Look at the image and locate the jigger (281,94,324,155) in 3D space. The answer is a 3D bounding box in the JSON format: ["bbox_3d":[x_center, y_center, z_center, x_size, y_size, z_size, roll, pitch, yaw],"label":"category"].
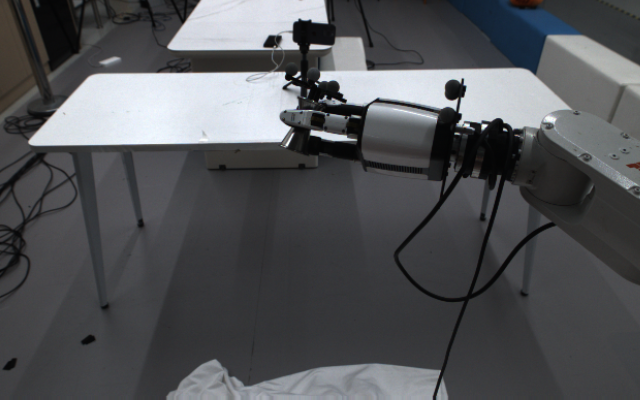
[{"bbox_3d":[-0.024,-0.096,0.628,0.043,0.071,0.043,22,6,-2],"label":"jigger"}]
